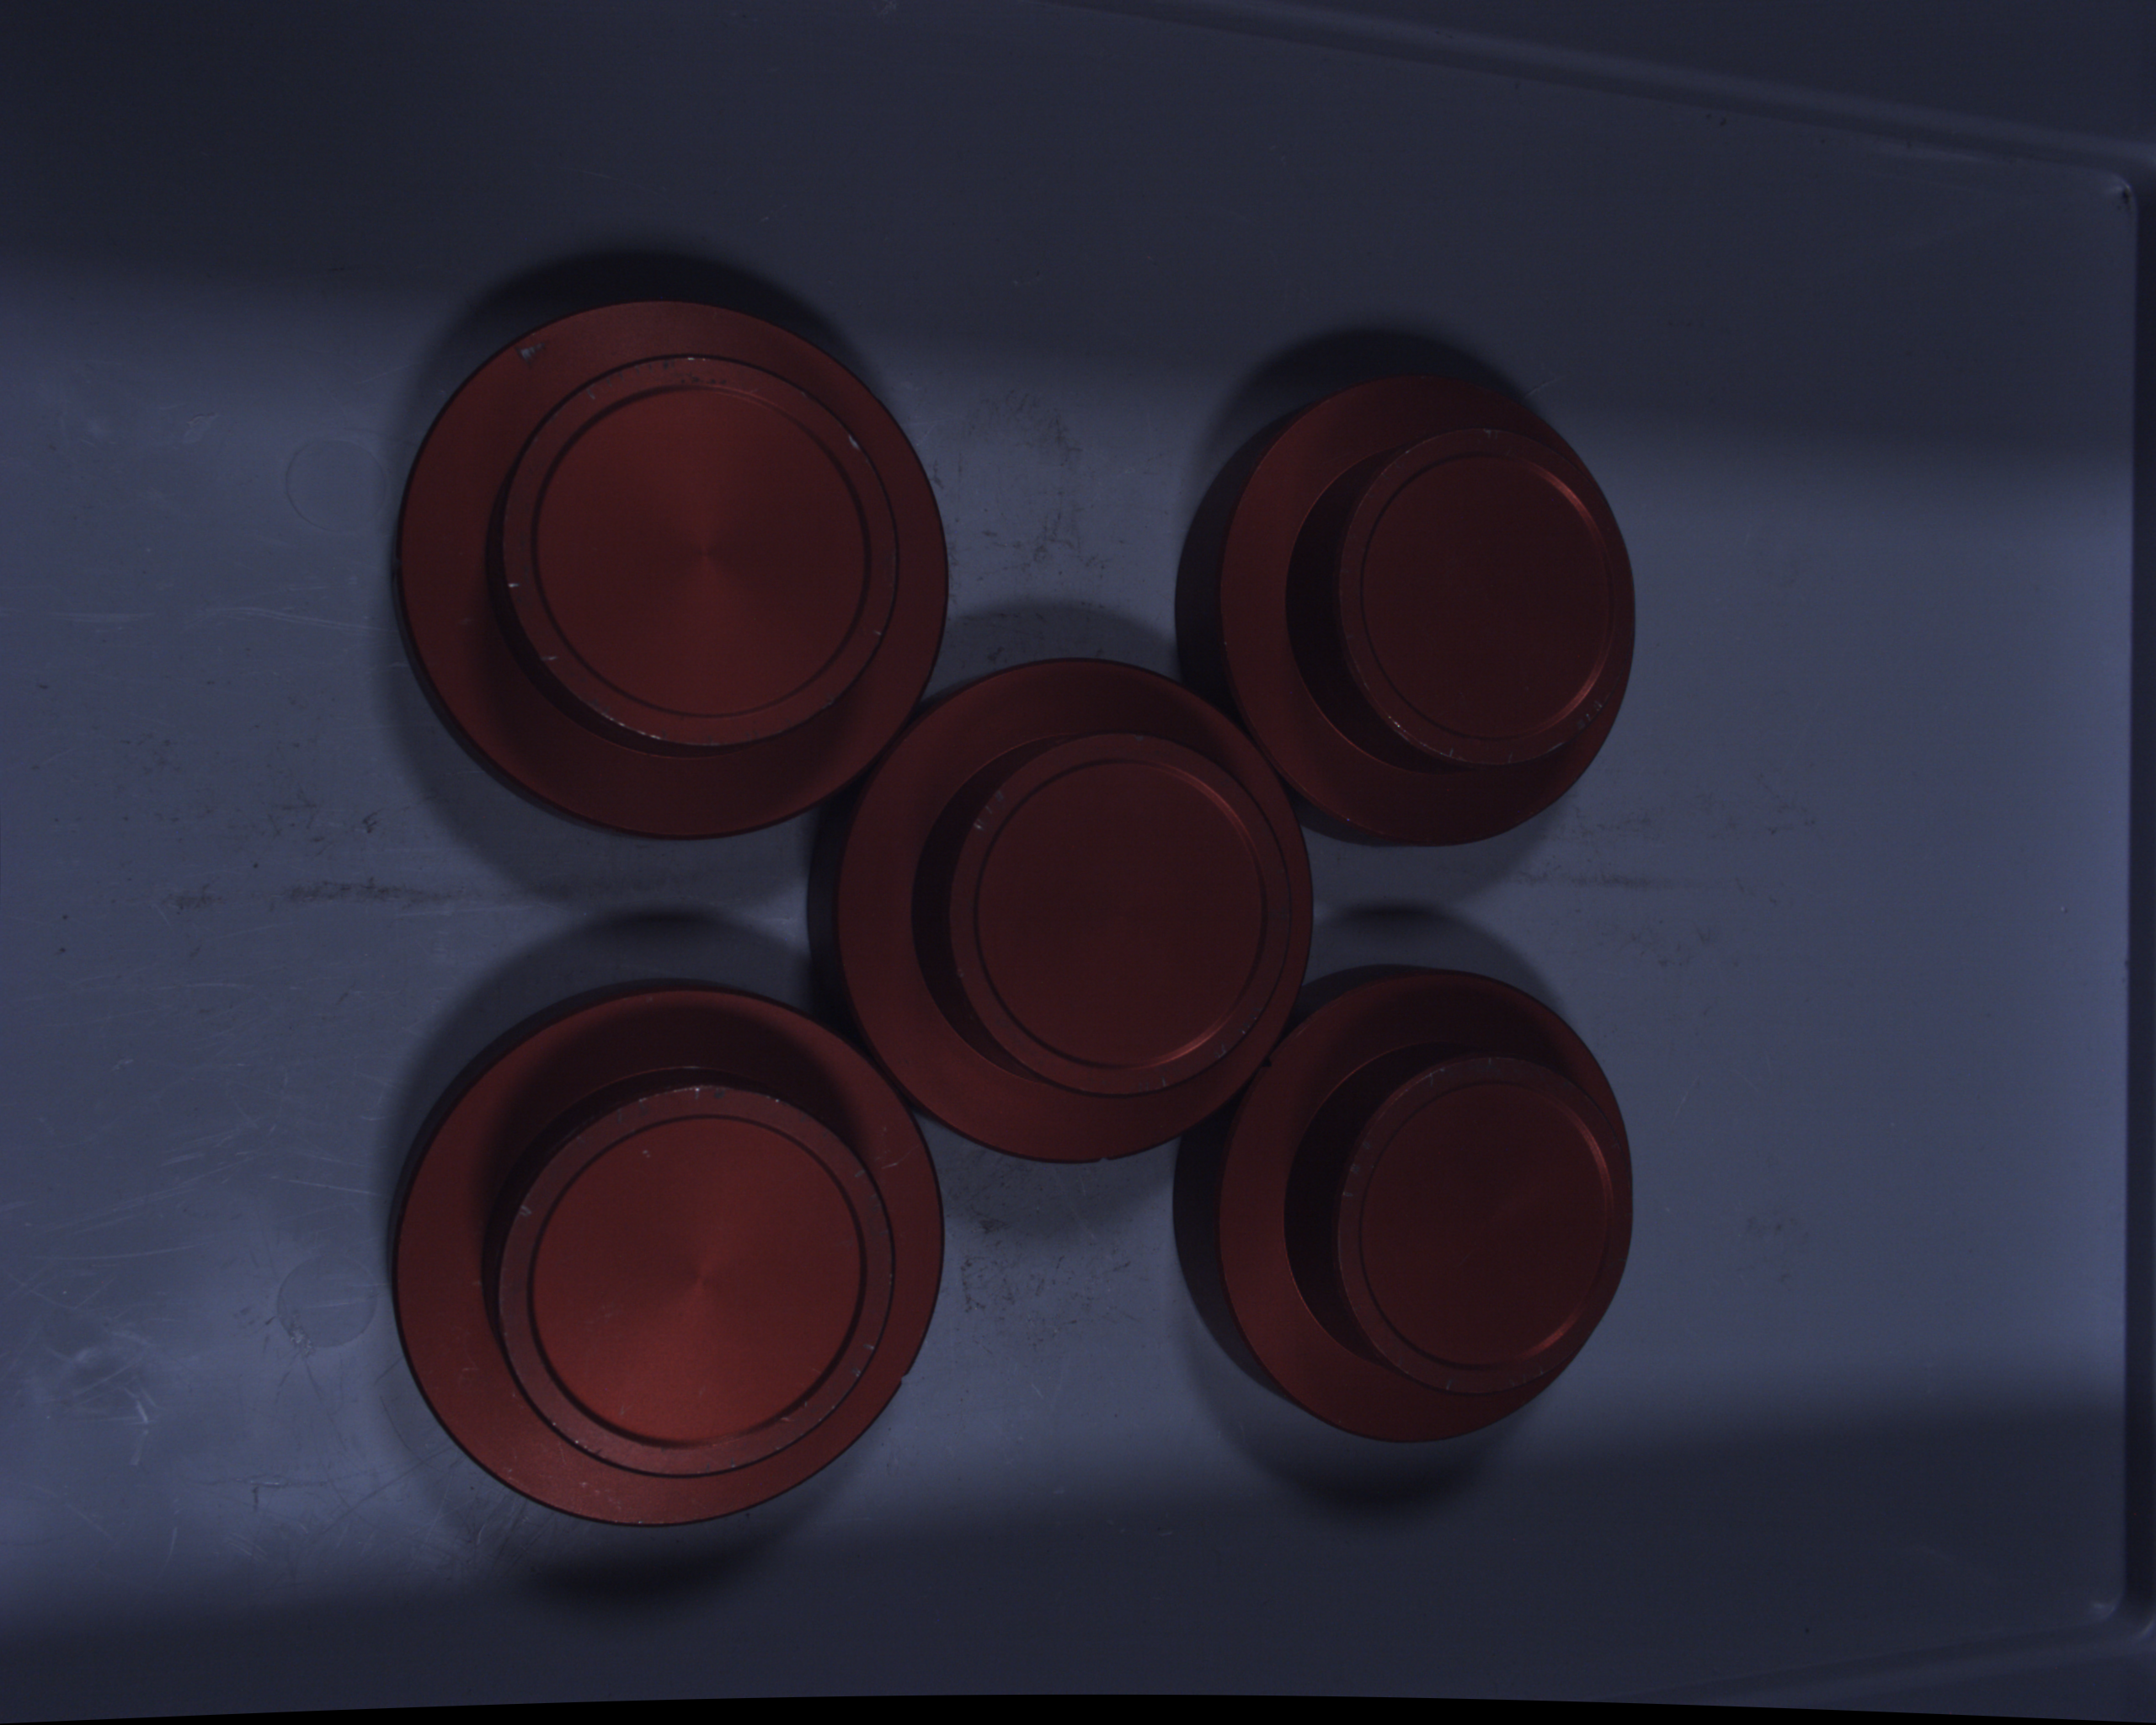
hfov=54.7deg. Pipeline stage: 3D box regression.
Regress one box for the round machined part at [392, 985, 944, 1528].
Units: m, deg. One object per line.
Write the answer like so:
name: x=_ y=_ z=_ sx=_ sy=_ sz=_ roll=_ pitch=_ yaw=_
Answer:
round machined part: x=-0.071 y=0.071 z=0.375 sx=0.099 sy=0.042 sz=0.097 roll=0 pitch=90 yaw=-21

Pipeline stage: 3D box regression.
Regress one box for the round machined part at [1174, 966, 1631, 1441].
round machined part: x=0.073 y=0.071 z=0.429 sx=0.099 sy=0.042 sz=0.097 roll=0 pitch=90 yaw=-21

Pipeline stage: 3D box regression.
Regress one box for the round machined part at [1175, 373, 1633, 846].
round machined part: x=0.073 y=-0.052 z=0.428 sx=0.099 sy=0.042 sz=0.097 roll=0 pitch=90 yaw=-21

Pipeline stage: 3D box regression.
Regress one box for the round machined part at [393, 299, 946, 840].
round machined part: x=-0.071 y=-0.053 z=0.374 sx=0.099 sy=0.042 sz=0.097 roll=0 pitch=90 yaw=-21

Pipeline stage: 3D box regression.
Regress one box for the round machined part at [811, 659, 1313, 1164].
round machined part: x=0.001 y=0.009 z=0.401 sx=0.099 sy=0.042 sz=0.097 roll=0 pitch=90 yaw=-21
